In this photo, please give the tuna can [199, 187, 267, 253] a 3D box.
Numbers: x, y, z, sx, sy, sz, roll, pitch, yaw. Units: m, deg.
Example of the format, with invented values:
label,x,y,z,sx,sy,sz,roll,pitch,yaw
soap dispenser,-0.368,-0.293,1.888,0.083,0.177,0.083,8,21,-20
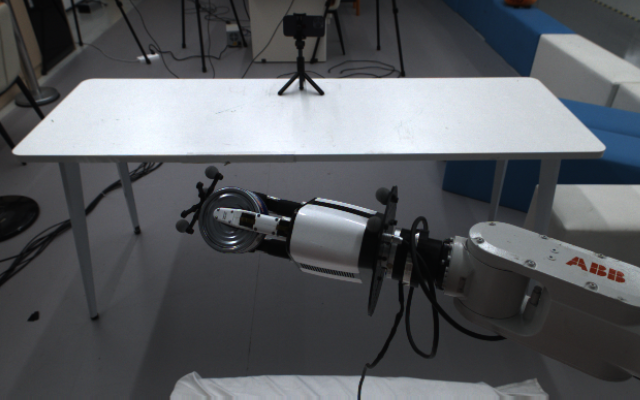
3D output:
label,x,y,z,sx,sy,sz,roll,pitch,yaw
tuna can,-0.107,0.030,0.617,0.085,0.085,0.034,9,-4,10
